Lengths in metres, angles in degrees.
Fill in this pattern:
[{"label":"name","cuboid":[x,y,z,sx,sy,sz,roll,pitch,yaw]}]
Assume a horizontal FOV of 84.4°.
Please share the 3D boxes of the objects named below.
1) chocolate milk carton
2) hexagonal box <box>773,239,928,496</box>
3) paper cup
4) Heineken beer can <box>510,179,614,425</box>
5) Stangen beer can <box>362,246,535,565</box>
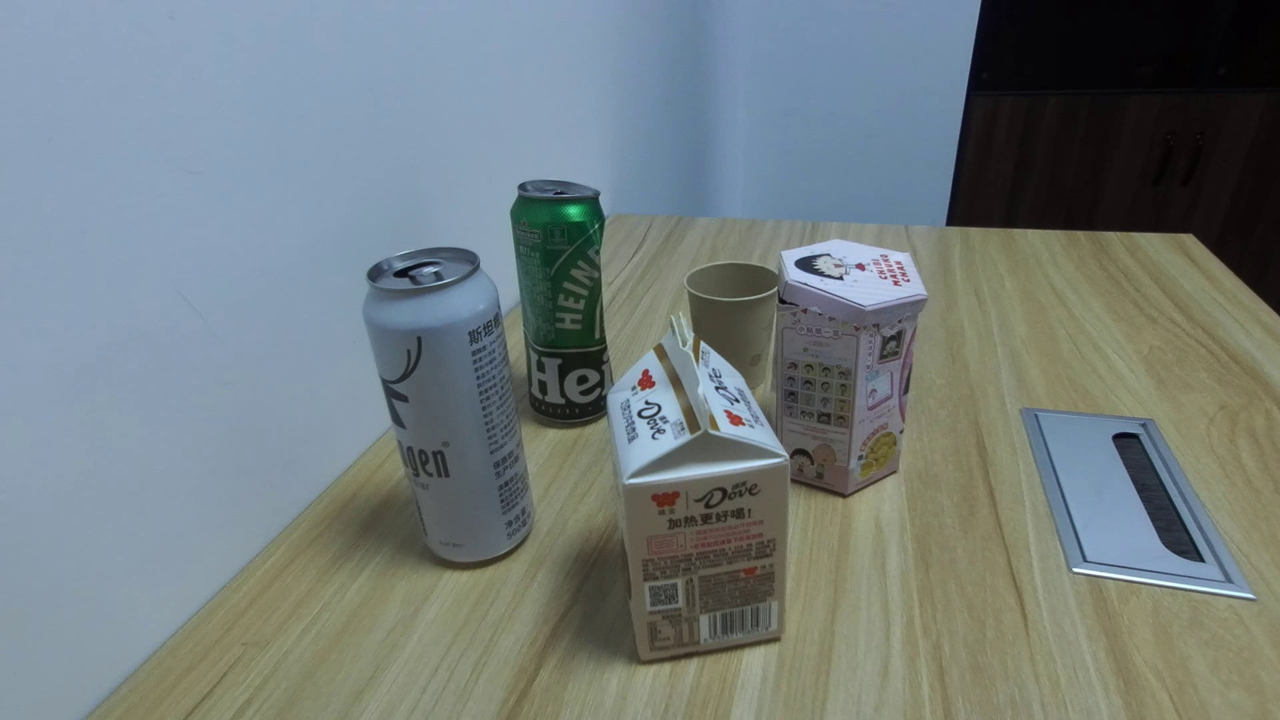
[{"label":"chocolate milk carton","cuboid":[0.026,0.059,0.341,0.074,0.148,0.075,-7,26,-6]},{"label":"hexagonal box","cuboid":[0.122,0.004,0.437,0.085,0.135,0.092,-1,29,4]},{"label":"paper cup","cuboid":[0.073,-0.024,0.552,0.075,0.082,0.075,-3,28,2]},{"label":"Heineken beer can","cuboid":[-0.051,-0.037,0.503,0.069,0.168,0.068,7,25,16]},{"label":"Stangen beer can","cuboid":[-0.100,0.029,0.386,0.067,0.171,0.067,-3,28,2]}]
